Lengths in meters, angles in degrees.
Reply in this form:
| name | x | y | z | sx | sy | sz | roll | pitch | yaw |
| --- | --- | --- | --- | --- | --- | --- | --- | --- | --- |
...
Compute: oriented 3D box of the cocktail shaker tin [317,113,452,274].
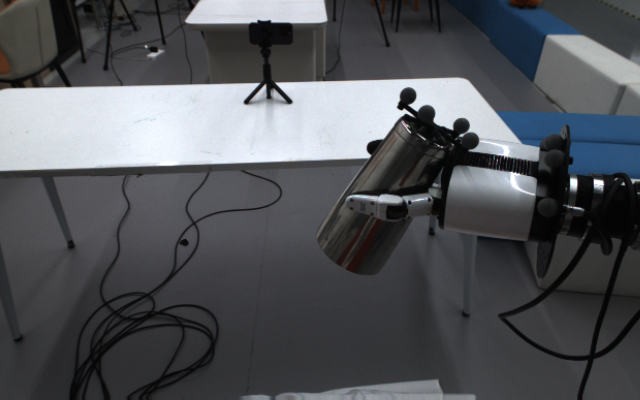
| name | x | y | z | sx | sy | sz | roll | pitch | yaw |
| --- | --- | --- | --- | --- | --- | --- | --- | --- | --- |
| cocktail shaker tin | 0.076 | -0.010 | 0.553 | 0.093 | 0.170 | 0.093 | 25 | 29 | -15 |
